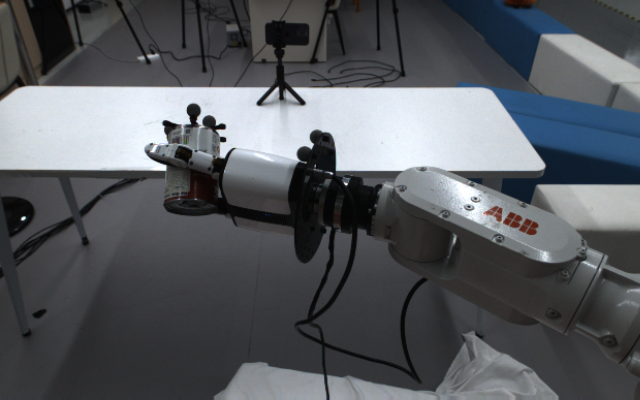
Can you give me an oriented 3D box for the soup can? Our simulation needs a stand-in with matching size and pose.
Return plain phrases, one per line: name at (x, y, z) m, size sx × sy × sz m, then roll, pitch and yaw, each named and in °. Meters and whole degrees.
soup can at (-0.162, -0.036, 0.619) m, size 0.067 × 0.067 × 0.101 m, roll -1°, pitch 71°, yaw -5°
